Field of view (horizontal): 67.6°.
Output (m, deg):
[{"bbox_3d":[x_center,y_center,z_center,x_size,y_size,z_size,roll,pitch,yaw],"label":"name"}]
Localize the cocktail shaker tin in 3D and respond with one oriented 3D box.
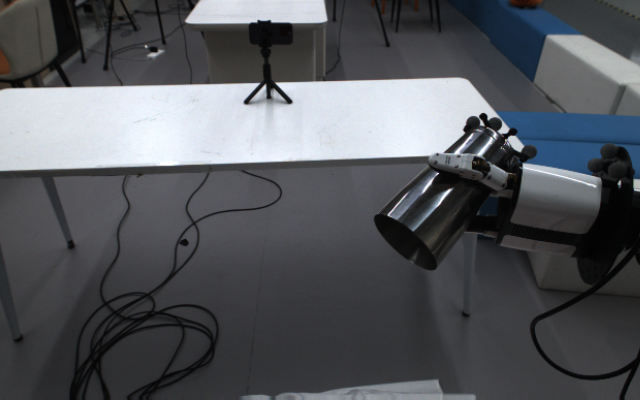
[{"bbox_3d":[0.155,-0.014,0.579,0.170,0.093,0.093,-43,51,-15],"label":"cocktail shaker tin"}]
